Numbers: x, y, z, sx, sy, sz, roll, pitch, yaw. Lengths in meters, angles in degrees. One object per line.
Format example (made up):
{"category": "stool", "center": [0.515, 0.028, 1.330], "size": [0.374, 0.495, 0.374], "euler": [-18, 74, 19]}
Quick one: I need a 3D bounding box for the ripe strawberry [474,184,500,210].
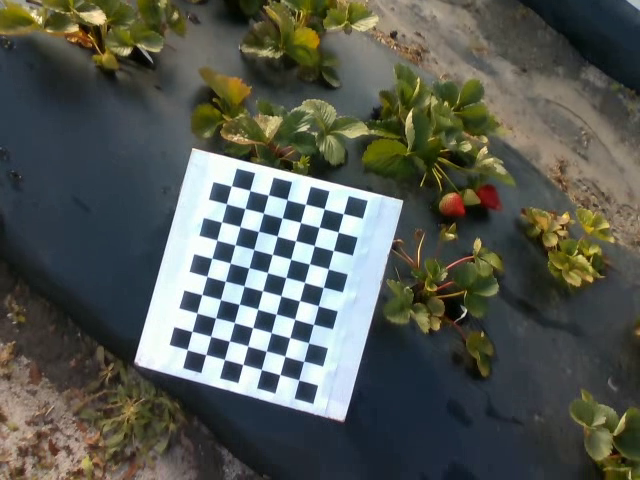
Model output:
{"category": "ripe strawberry", "center": [0.308, -0.075, 1.058], "size": [0.049, 0.065, 0.050], "euler": [-34, -9, 3]}
